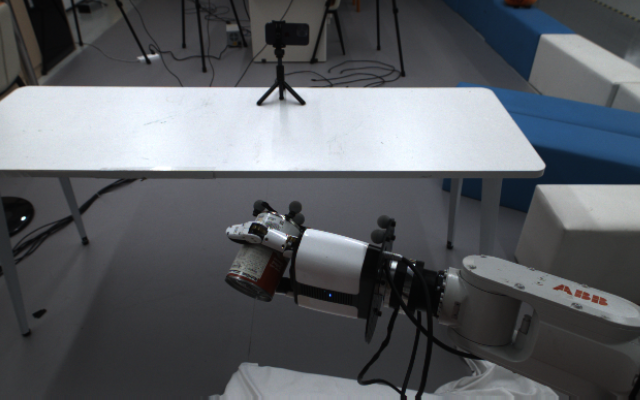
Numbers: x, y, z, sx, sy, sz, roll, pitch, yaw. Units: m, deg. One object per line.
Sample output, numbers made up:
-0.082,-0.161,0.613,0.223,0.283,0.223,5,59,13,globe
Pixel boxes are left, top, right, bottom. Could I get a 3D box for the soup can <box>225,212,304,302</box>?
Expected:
-0.072,0.074,0.641,0.067,0.067,0.101,15,63,18,soup can
